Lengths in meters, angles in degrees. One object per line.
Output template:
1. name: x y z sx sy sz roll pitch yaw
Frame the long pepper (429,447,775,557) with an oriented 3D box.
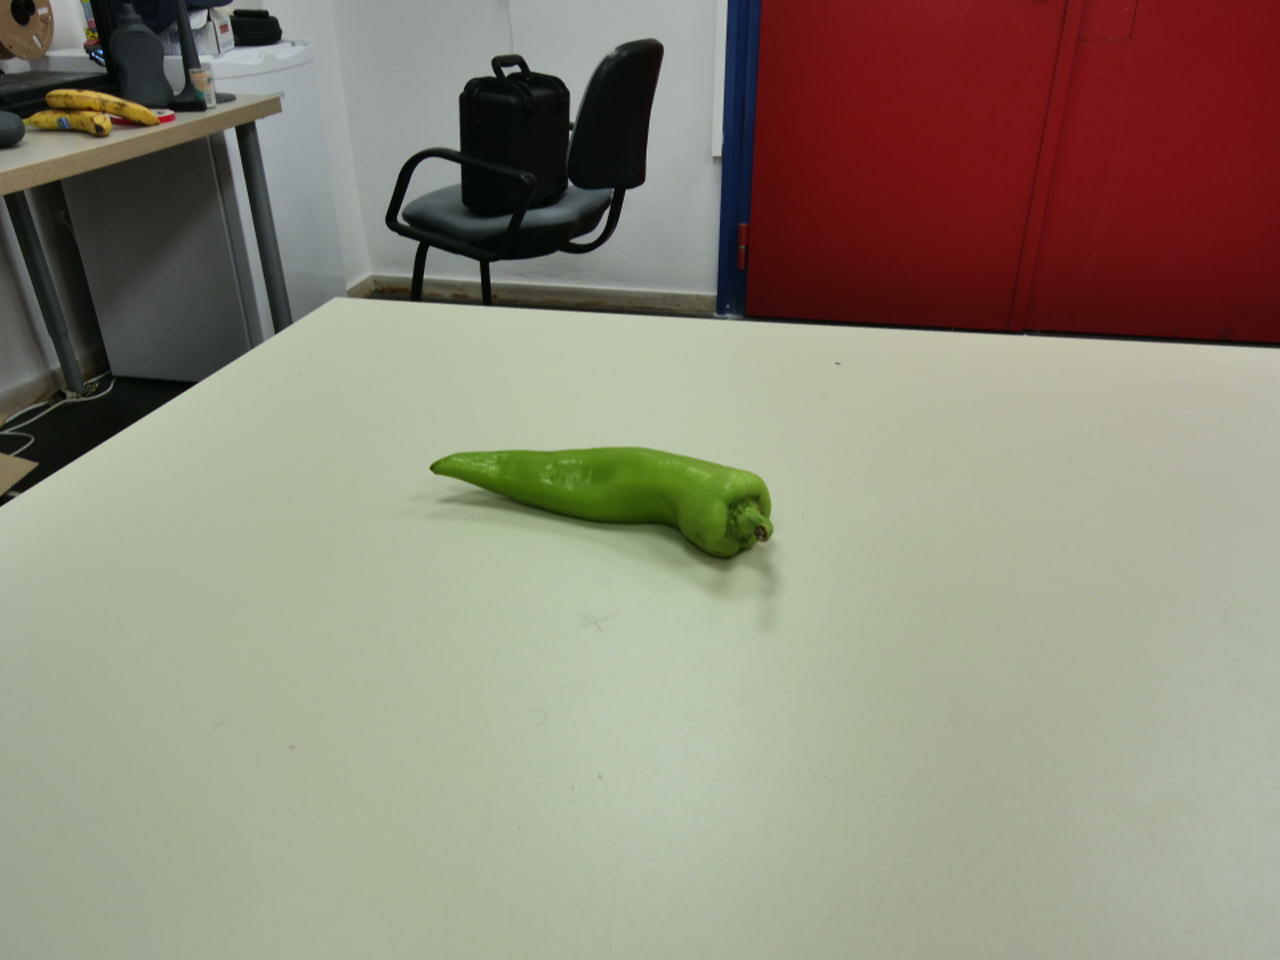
1. long pepper: -0.014 0.003 0.540 0.205 0.045 0.065 13 29 26
